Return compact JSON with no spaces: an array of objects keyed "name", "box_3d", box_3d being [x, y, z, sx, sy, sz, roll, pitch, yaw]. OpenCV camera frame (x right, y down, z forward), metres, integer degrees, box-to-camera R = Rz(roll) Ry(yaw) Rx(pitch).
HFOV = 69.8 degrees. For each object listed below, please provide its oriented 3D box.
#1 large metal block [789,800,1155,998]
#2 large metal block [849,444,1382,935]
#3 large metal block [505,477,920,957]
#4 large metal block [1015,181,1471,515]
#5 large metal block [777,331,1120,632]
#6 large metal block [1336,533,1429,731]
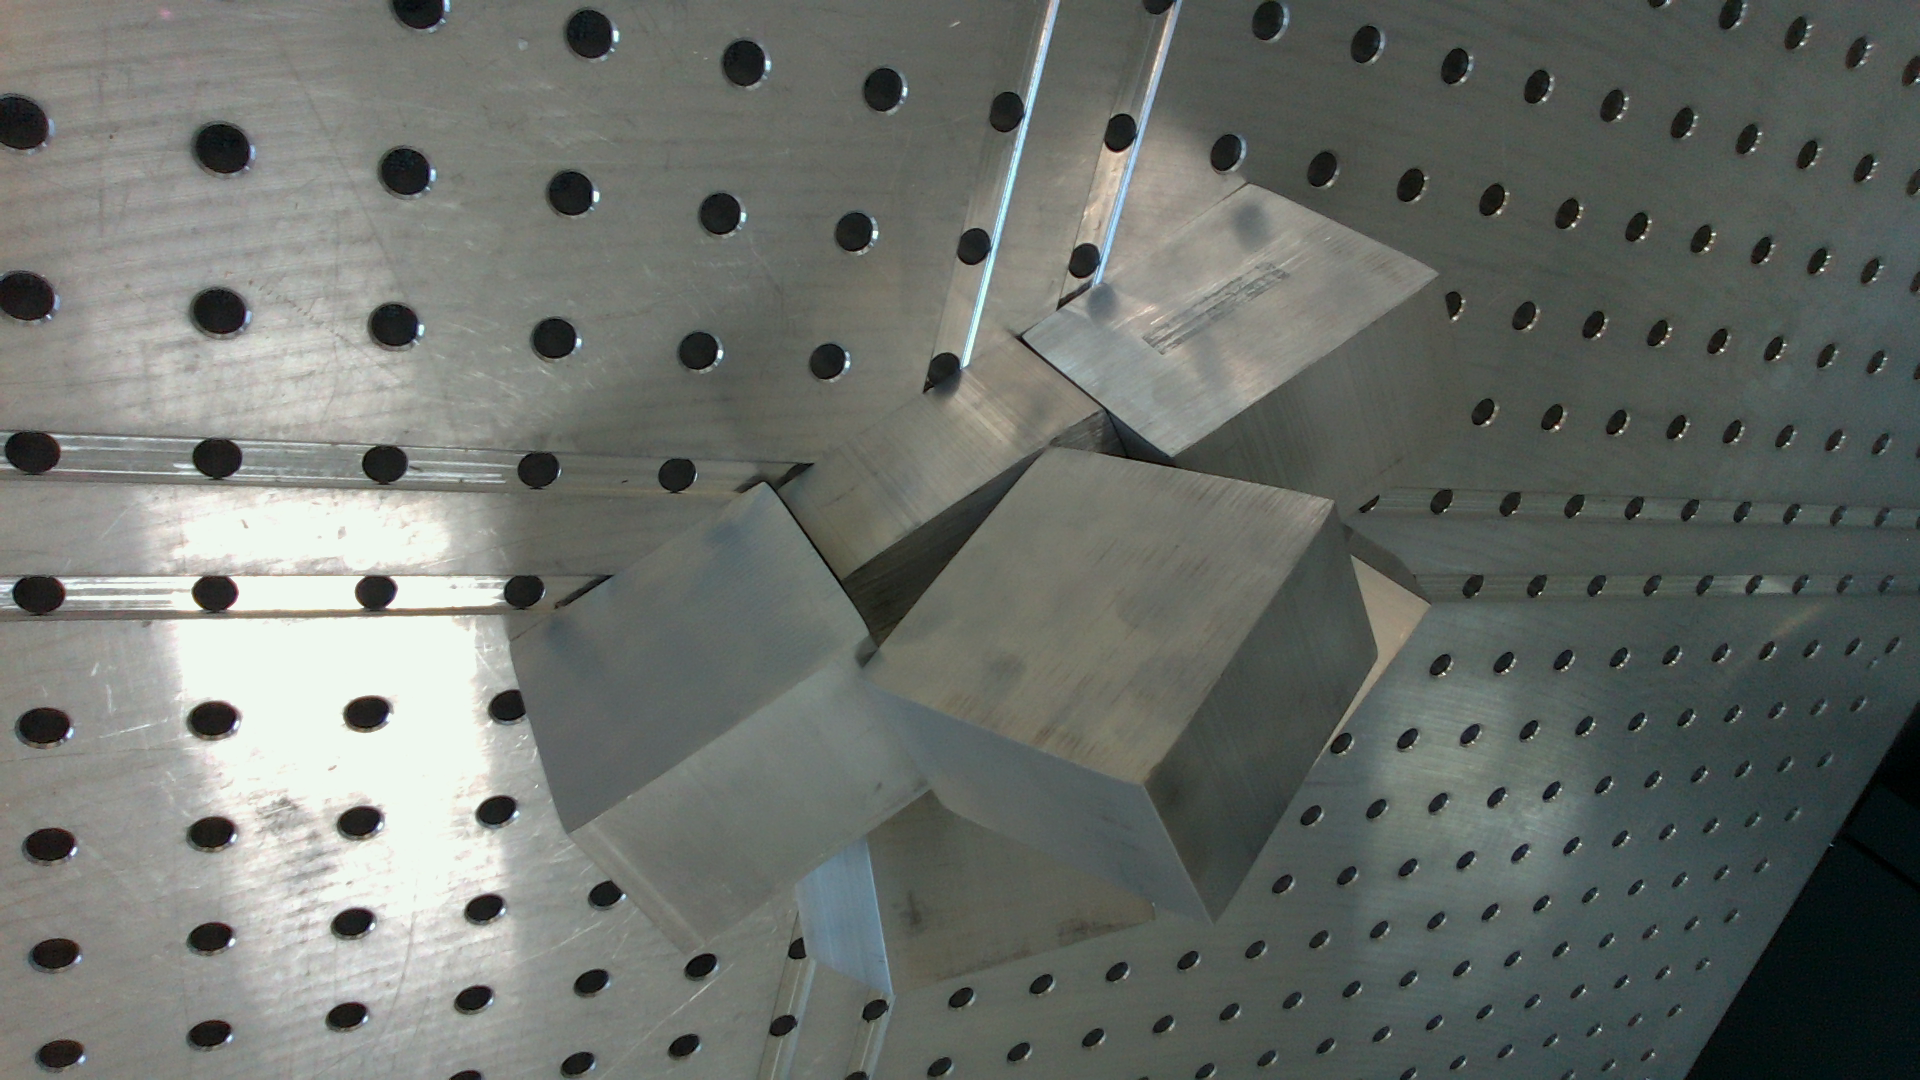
[{"name":"large metal block","box_3d":[-0.002,0.091,0.402,0.080,0.080,0.050,-9,86,-24]},{"name":"large metal block","box_3d":[0.037,0.029,0.313,0.080,0.080,0.050,-50,134,-26]},{"name":"large metal block","box_3d":[-0.059,0.041,0.348,0.080,0.080,0.050,-33,129,-7]},{"name":"large metal block","box_3d":[0.074,-0.043,0.370,0.080,0.080,0.050,-34,129,-6]},{"name":"large metal block","box_3d":[0.007,0.003,0.383,0.080,0.050,0.080,-34,129,-6]},{"name":"large metal block","box_3d":[0.090,0.030,0.415,0.050,0.080,0.080,33,103,4]}]
